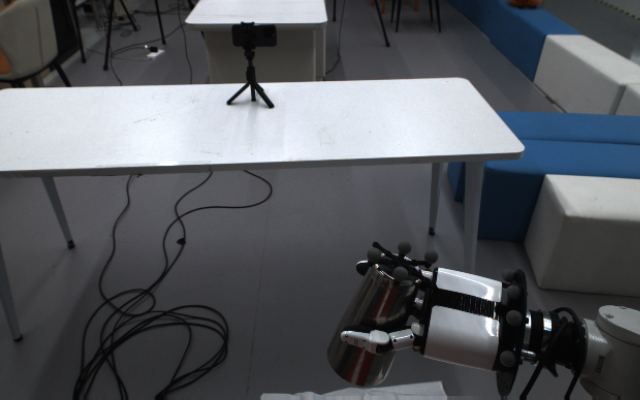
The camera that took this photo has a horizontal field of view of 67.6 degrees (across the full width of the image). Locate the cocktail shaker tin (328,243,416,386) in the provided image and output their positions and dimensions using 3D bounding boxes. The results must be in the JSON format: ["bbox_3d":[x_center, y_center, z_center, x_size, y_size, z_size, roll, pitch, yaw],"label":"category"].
[{"bbox_3d":[0.078,0.153,0.646,0.093,0.170,0.093,12,29,-7],"label":"cocktail shaker tin"}]
